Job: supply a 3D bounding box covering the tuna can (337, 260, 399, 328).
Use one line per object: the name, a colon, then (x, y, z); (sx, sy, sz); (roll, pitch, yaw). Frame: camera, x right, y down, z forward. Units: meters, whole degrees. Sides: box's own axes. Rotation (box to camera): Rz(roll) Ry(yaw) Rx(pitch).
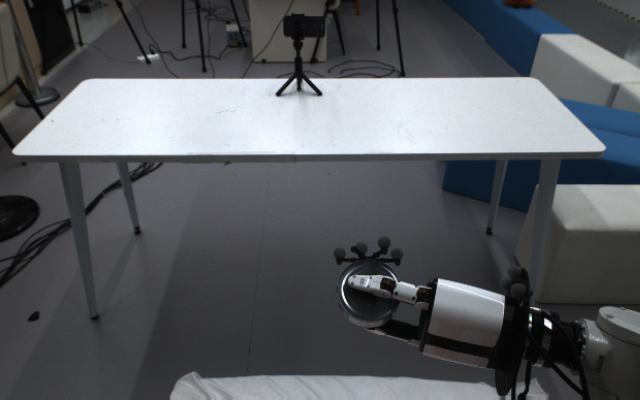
tuna can: (0.067, 0.124, 0.645); (0.085, 0.034, 0.085); (-2, 58, 3)
